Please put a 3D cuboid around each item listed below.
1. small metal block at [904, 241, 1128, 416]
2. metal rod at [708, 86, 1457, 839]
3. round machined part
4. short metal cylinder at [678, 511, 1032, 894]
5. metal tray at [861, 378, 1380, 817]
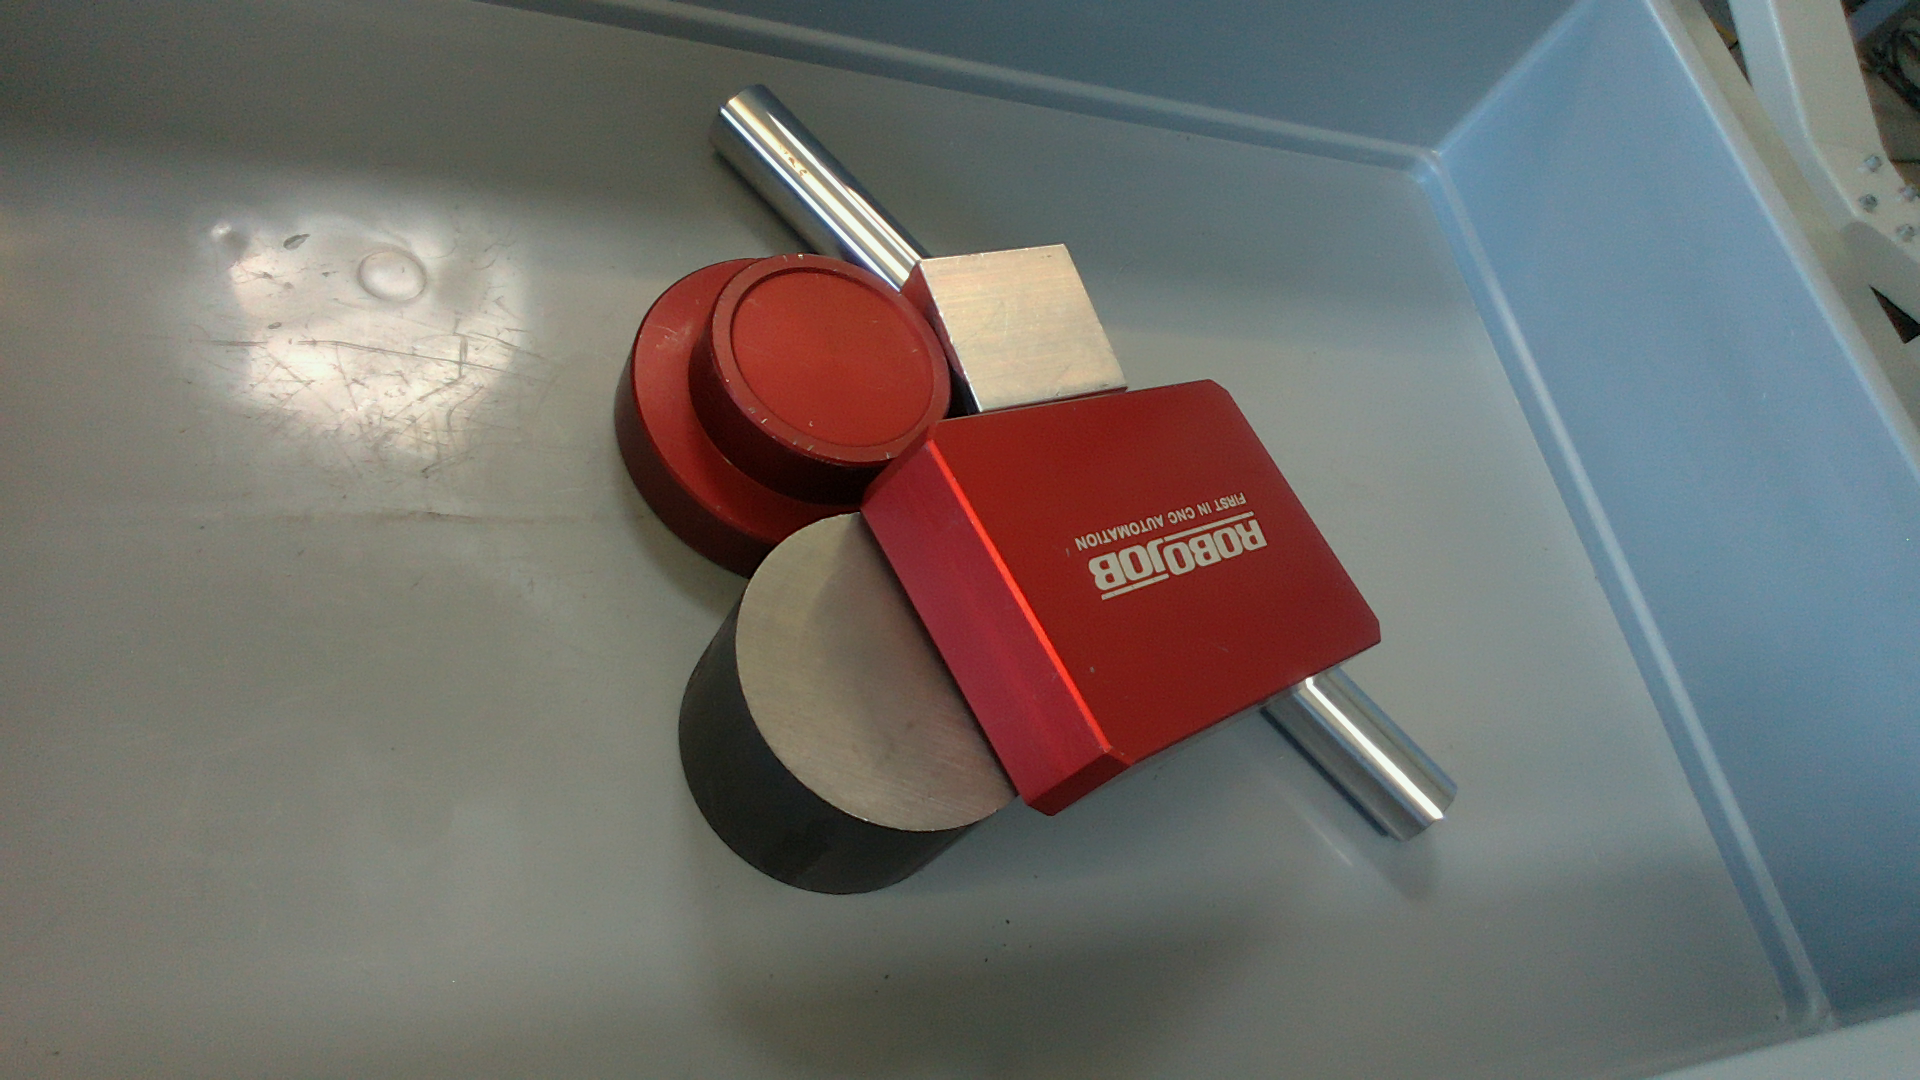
[{"bbox_3d":[0.014,-0.056,0.400,0.050,0.025,0.050,-13,71,-28],"label":"small metal block"},{"bbox_3d":[0.035,-0.026,0.423,0.300,0.025,0.025,46,51,3],"label":"metal rod"},{"bbox_3d":[-0.042,-0.040,0.378,0.098,0.042,0.098,13,57,-20],"label":"round machined part"},{"bbox_3d":[-0.023,0.040,0.335,0.080,0.050,0.080,14,56,-21],"label":"short metal cylinder"},{"bbox_3d":[0.047,0.007,0.356,0.131,0.030,0.090,-14,69,-47],"label":"metal tray"}]
